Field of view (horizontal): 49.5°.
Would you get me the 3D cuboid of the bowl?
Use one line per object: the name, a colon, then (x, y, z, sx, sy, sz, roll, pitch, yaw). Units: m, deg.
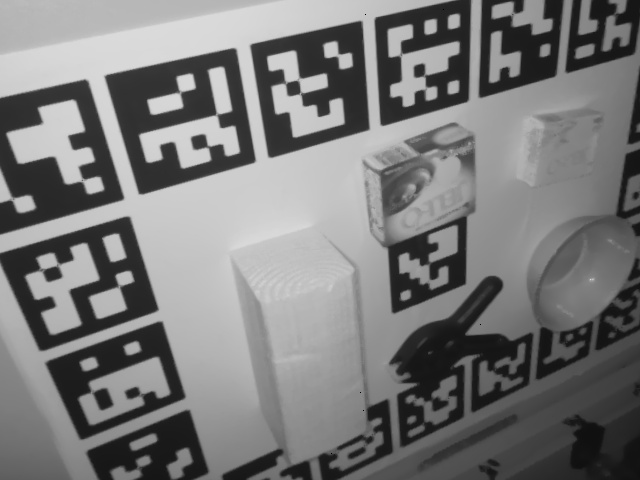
bowl: (0.329, 0.027, 0.821, 0.164, 0.055, 0.160, -10, 116, -20)

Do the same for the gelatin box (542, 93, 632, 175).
gelatin box: (0.282, -0.113, 0.732, 0.090, 0.030, 0.073, -11, 118, -21)

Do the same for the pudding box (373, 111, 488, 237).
pudding box: (0.111, -0.065, 0.667, 0.115, 0.038, 0.089, -20, 118, -19)

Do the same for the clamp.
clamp: (0.183, 0.108, 0.802, 0.166, 0.036, 0.121, -27, 124, -10)

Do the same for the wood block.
wood block: (-0.009, 0.094, 0.655, 0.091, 0.090, 0.205, -16, 121, -17)
